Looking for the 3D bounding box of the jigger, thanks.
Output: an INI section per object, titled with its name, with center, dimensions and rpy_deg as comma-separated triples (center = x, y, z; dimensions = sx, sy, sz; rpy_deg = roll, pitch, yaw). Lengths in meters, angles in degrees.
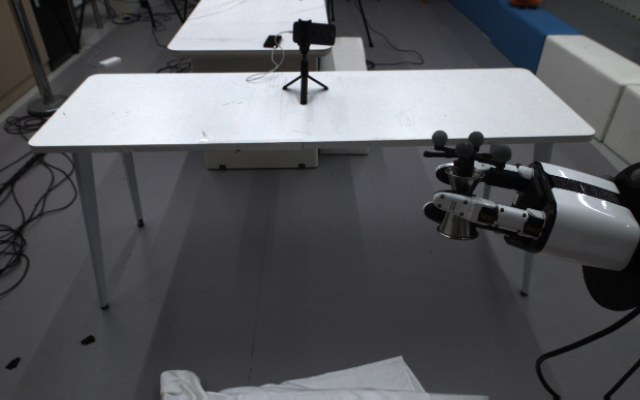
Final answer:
[jigger]
center = 0.148, 0.001, 0.516
dimensions = 0.043, 0.071, 0.043
rpy_deg = 1, 20, 0
